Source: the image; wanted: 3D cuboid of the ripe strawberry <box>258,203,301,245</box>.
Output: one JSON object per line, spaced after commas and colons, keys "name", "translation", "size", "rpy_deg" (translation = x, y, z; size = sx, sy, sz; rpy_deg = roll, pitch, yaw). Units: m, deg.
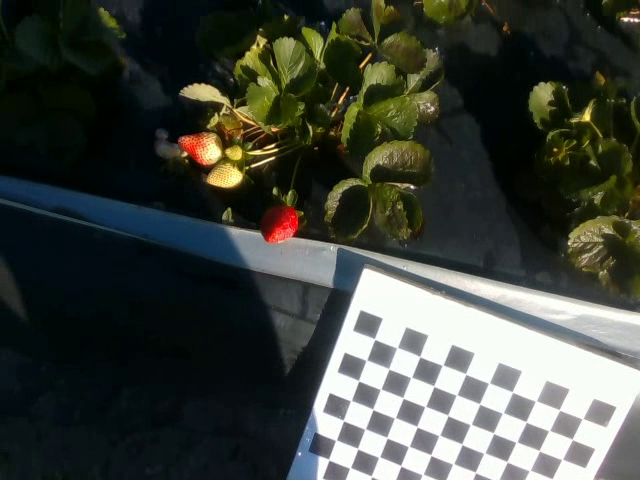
{"name": "ripe strawberry", "translation": [-0.037, -0.010, 0.437], "size": [0.036, 0.038, 0.045], "rpy_deg": [19, 29, 5]}
